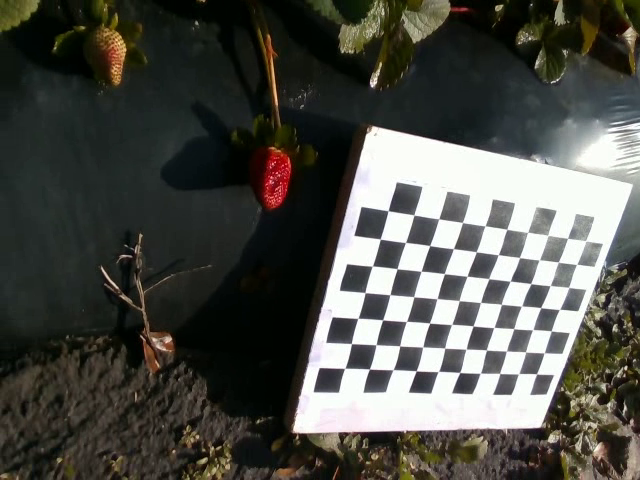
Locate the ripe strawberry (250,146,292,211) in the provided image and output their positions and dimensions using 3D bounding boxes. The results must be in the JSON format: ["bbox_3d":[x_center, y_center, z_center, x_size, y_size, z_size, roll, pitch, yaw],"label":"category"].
[{"bbox_3d":[-0.014,-0.017,0.144,0.015,0.023,0.015,15,-38,-26],"label":"ripe strawberry"}]
